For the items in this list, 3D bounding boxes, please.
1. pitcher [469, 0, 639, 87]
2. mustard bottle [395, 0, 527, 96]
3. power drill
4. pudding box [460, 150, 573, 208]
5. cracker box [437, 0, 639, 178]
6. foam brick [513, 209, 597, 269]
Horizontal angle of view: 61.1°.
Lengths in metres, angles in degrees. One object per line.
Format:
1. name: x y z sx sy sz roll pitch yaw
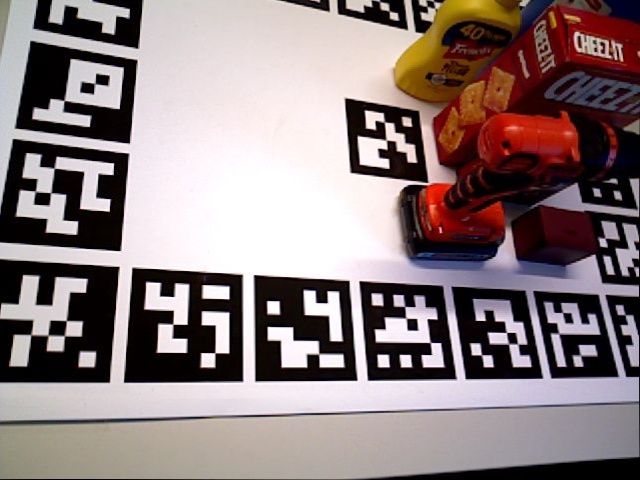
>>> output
1. pitcher: 0.295 -0.234 0.631 0.187 0.247 0.132 10 67 -16
2. mustard bottle: 0.167 -0.240 0.597 0.095 0.195 0.058 17 65 -14
3. power drill: 0.201 -0.048 0.515 0.182 0.191 0.057 4 65 -21
4. pudding box: 0.231 -0.076 0.616 0.112 0.092 0.038 5 67 -17
5. cracker box: 0.255 -0.140 0.587 0.162 0.218 0.071 2 67 -18
6. foam brick: 0.276 0.000 0.643 0.077 0.052 0.052 7 70 -19
